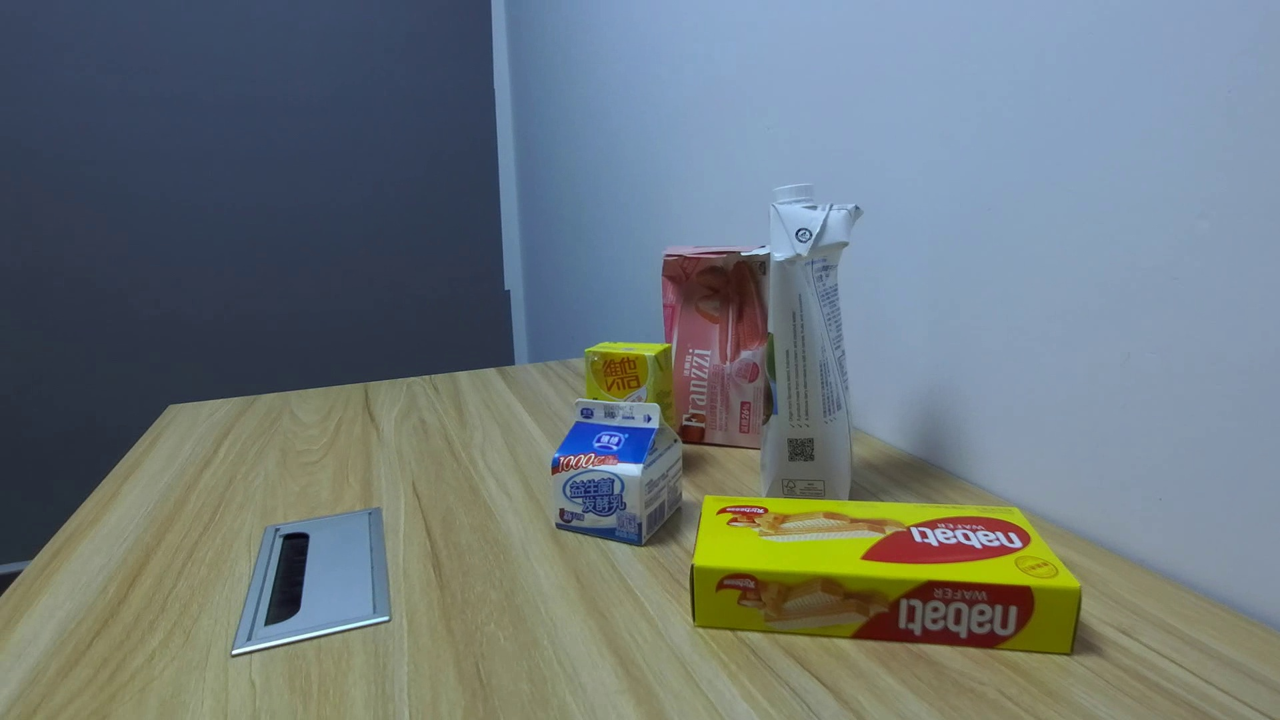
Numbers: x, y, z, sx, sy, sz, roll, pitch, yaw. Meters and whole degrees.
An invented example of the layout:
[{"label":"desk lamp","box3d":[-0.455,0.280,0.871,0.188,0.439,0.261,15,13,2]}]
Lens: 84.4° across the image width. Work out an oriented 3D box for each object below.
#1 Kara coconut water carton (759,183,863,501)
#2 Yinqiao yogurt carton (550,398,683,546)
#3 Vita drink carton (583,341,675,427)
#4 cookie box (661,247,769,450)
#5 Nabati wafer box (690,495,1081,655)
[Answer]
[{"label":"Kara coconut water carton","box3d":[0.130,-0.010,0.533,0.069,0.238,0.115,3,15,20]},{"label":"Yinqiao yogurt carton","box3d":[-0.016,0.072,0.516,0.075,0.092,0.074,4,17,26]},{"label":"Vita drink carton","box3d":[-0.011,0.040,0.609,0.076,0.109,0.043,4,15,22]},{"label":"cookie box","box3d":[0.071,-0.012,0.659,0.118,0.184,0.055,3,14,20]},{"label":"Nabati wafer box","box3d":[0.133,0.120,0.417,0.202,0.042,0.093,1,14,9]}]
